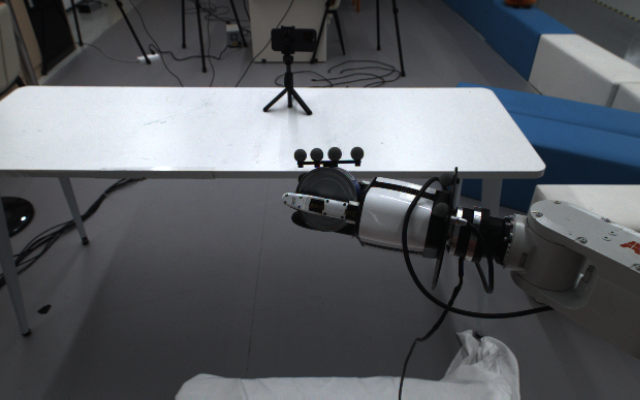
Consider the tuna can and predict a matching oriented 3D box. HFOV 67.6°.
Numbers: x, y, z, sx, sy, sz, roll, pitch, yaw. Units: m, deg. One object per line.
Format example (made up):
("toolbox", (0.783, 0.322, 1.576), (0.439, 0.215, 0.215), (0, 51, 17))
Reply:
("tuna can", (0.013, -0.002, 0.648), (0.085, 0.085, 0.034), (15, 10, 18))
